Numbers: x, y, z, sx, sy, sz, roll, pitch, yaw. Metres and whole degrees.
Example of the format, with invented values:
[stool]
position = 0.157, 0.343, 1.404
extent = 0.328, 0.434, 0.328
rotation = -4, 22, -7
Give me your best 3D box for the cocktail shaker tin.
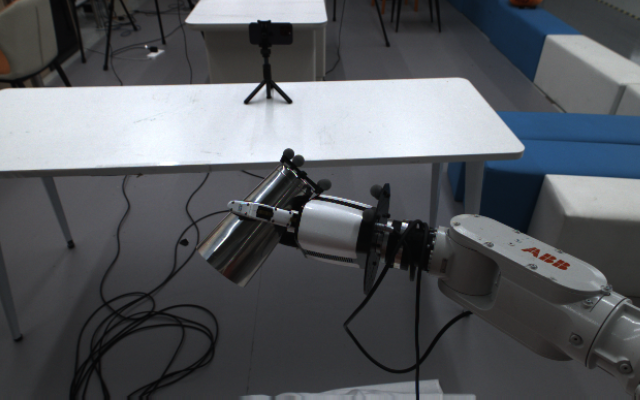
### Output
[cocktail shaker tin]
position = -0.087, 0.029, 0.707
extent = 0.170, 0.093, 0.093
rotation = -48, 49, -3
